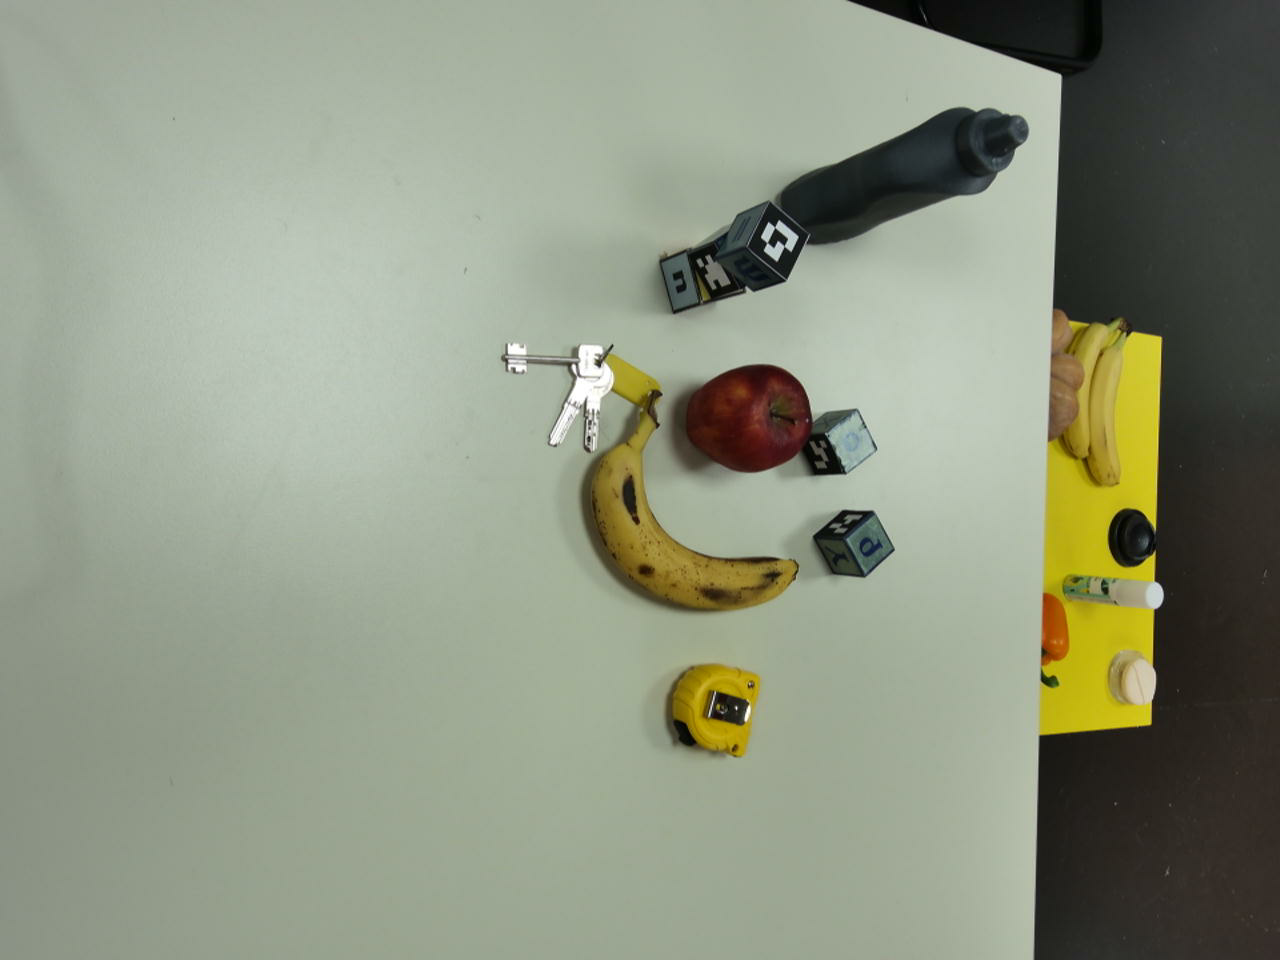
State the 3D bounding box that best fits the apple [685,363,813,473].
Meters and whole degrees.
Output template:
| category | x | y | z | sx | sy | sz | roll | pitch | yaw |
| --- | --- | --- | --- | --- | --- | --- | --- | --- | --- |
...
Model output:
| category | x | y | z | sx | sy | sz | roll | pitch | yaw |
| --- | --- | --- | --- | --- | --- | --- | --- | --- | --- |
| apple | 0.079 | -0.044 | 0.701 | 0.083 | 0.090 | 0.083 | 0 | 90 | -28 |
